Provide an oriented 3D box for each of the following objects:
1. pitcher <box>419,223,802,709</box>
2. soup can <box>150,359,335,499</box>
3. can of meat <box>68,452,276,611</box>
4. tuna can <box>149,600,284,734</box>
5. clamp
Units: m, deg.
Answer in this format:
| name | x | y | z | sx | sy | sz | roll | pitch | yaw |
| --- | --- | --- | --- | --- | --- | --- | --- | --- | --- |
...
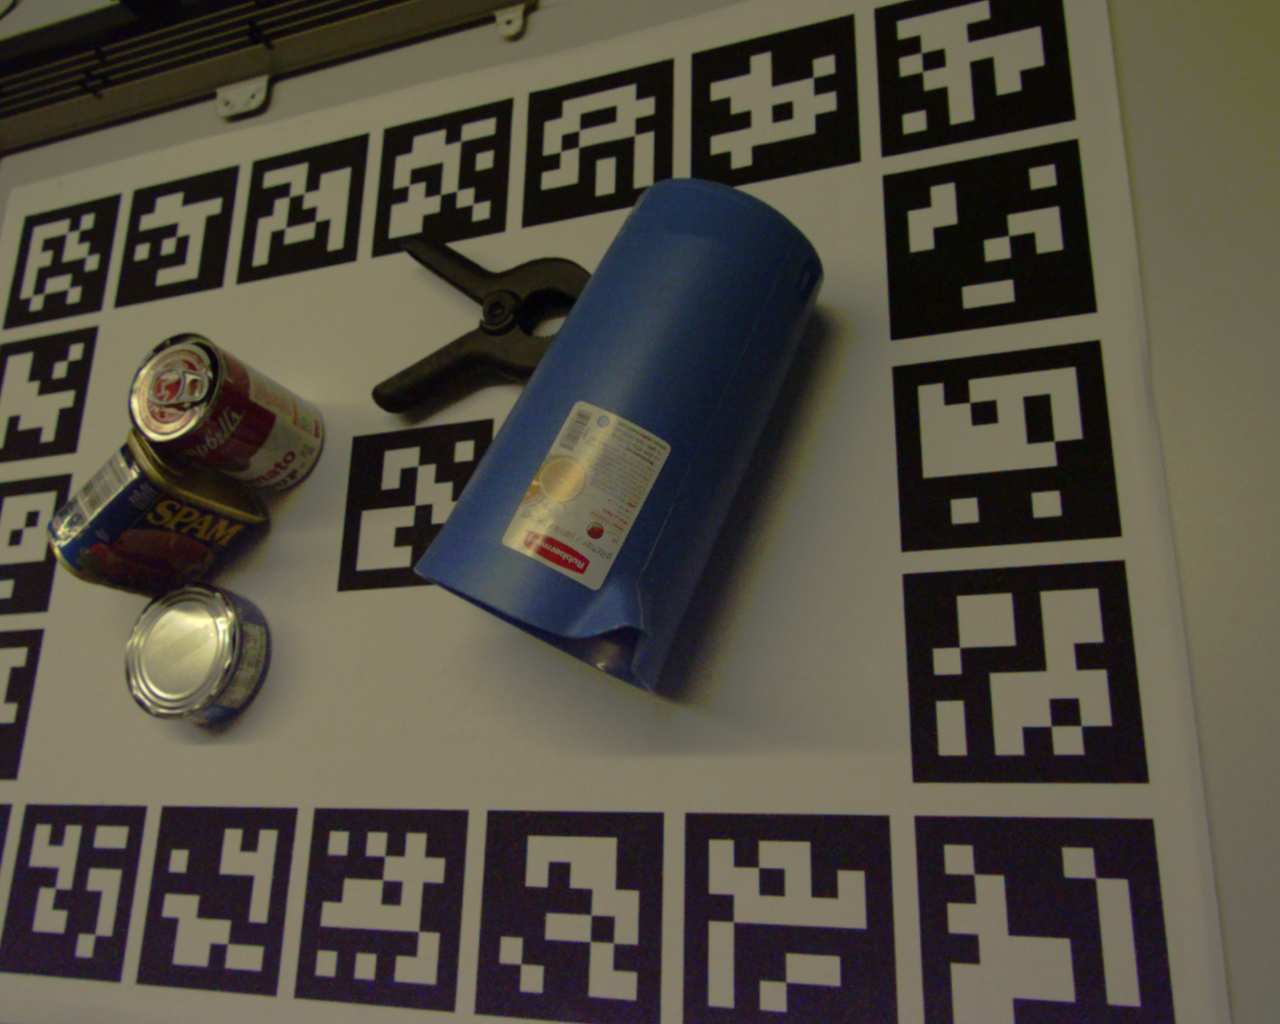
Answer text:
| name | x | y | z | sx | sy | sz | roll | pitch | yaw |
| --- | --- | --- | --- | --- | --- | --- | --- | --- | --- |
| pitcher | -0.015 | -0.029 | 0.620 | 0.191 | 0.131 | 0.242 | 12 | 71 | 47 |
| soup can | -0.259 | -0.052 | 0.752 | 0.068 | 0.101 | 0.068 | -7 | 74 | 23 |
| can of meat | -0.306 | 0.017 | 0.746 | 0.084 | 0.100 | 0.058 | -41 | 65 | 10 |
| tuna can | -0.277 | 0.103 | 0.748 | 0.086 | 0.033 | 0.086 | -6 | 74 | 21 |
| clamp | -0.097 | -0.110 | 0.746 | 0.166 | 0.036 | 0.122 | -2 | 70 | 19 |
